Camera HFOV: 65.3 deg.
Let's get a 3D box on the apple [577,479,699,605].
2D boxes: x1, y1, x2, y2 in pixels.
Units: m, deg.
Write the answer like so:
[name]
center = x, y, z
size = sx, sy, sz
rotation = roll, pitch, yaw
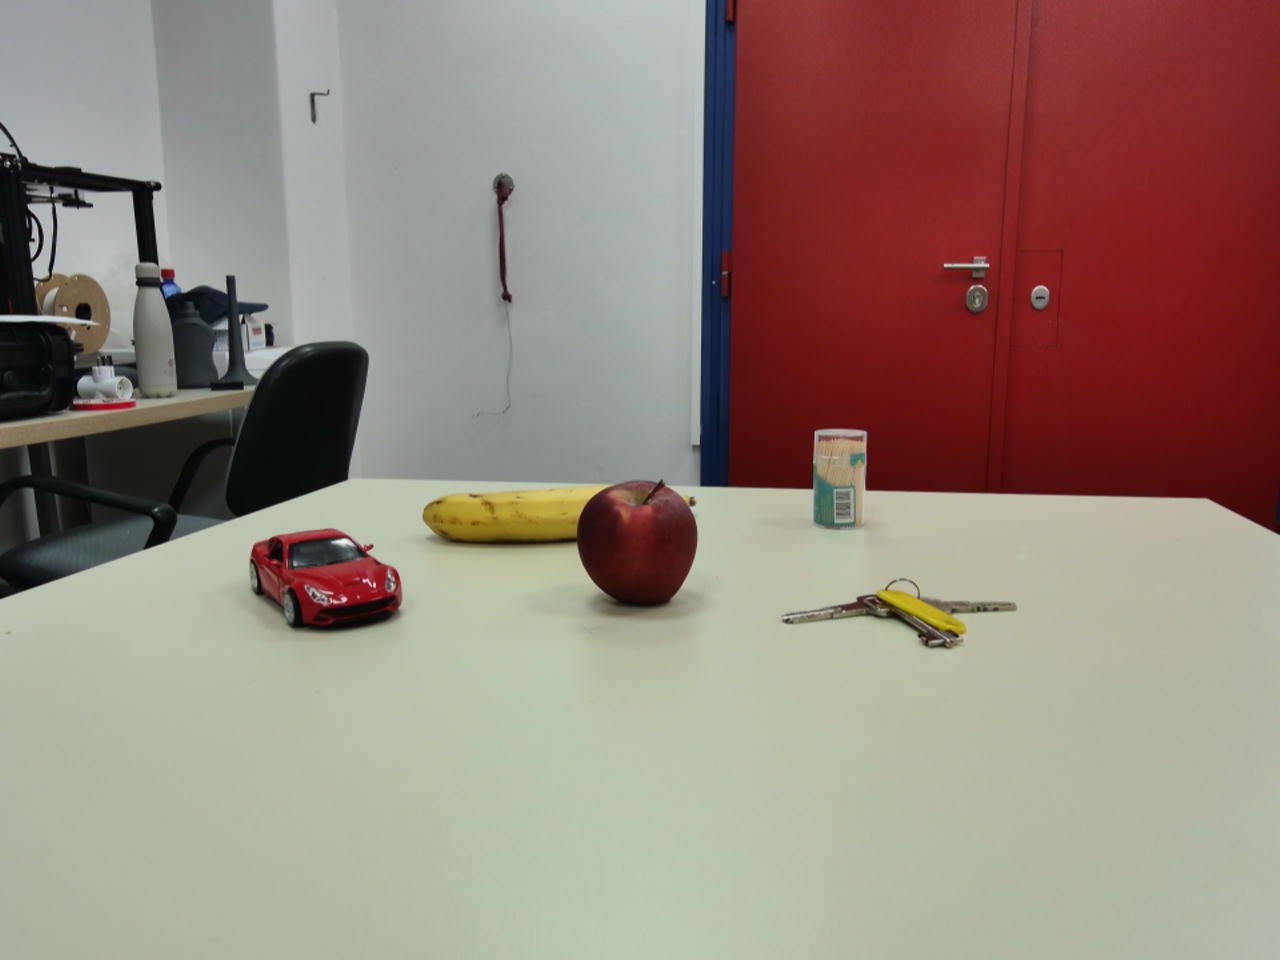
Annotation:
[apple]
center = -0.002, 0.034, 0.577
size = 0.070, 0.072, 0.070
rotation = -1, 7, 0
